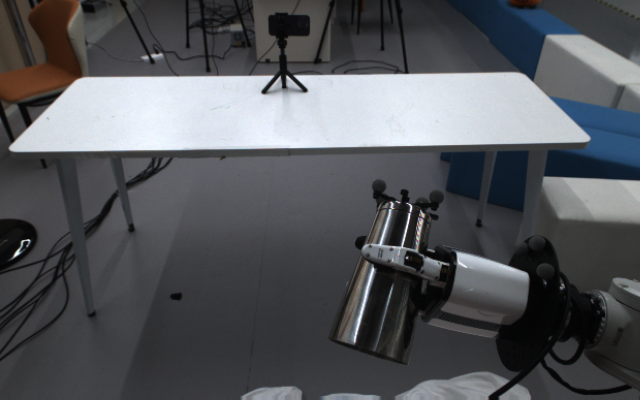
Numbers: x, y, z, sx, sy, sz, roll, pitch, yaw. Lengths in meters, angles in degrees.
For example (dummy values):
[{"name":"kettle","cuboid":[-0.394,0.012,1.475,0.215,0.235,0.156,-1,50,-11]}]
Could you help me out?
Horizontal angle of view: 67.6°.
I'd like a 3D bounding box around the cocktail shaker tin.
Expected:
[{"name":"cocktail shaker tin","cuboid":[0.077,0.090,0.558,0.093,0.093,0.170,13,70,16]}]
